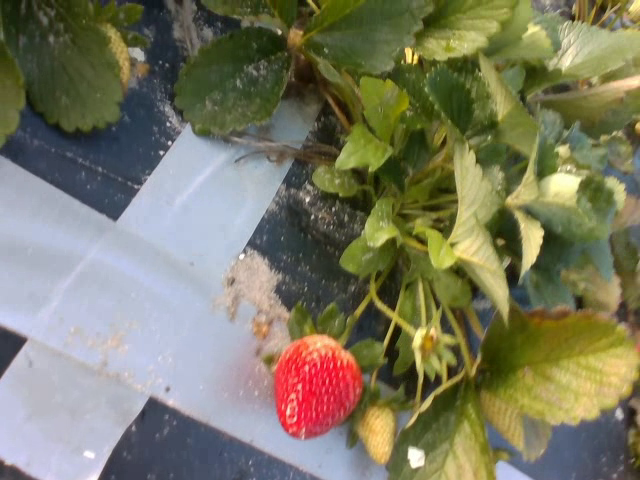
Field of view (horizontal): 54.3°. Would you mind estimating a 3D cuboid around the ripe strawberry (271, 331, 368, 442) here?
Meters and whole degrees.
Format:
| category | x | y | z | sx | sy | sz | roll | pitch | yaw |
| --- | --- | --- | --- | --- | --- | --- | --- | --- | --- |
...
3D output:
| category | x | y | z | sx | sy | sz | roll | pitch | yaw |
| --- | --- | --- | --- | --- | --- | --- | --- | --- | --- |
| ripe strawberry | 0.000 | 0.031 | 0.126 | 0.023 | 0.021 | 0.026 | 37 | 36 | 0 |
